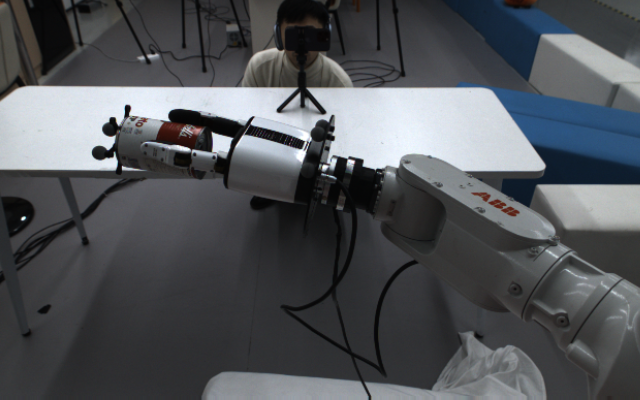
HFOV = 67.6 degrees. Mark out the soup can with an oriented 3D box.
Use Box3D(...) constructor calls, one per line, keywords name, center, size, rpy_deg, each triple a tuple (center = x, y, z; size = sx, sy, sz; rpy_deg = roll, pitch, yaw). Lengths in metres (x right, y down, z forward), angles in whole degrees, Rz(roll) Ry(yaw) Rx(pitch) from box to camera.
Box3D(name="soup can", center=(-0.195, -0.067, 0.614), size=(0.101, 0.067, 0.067), rpy_deg=(9, 35, 2))
